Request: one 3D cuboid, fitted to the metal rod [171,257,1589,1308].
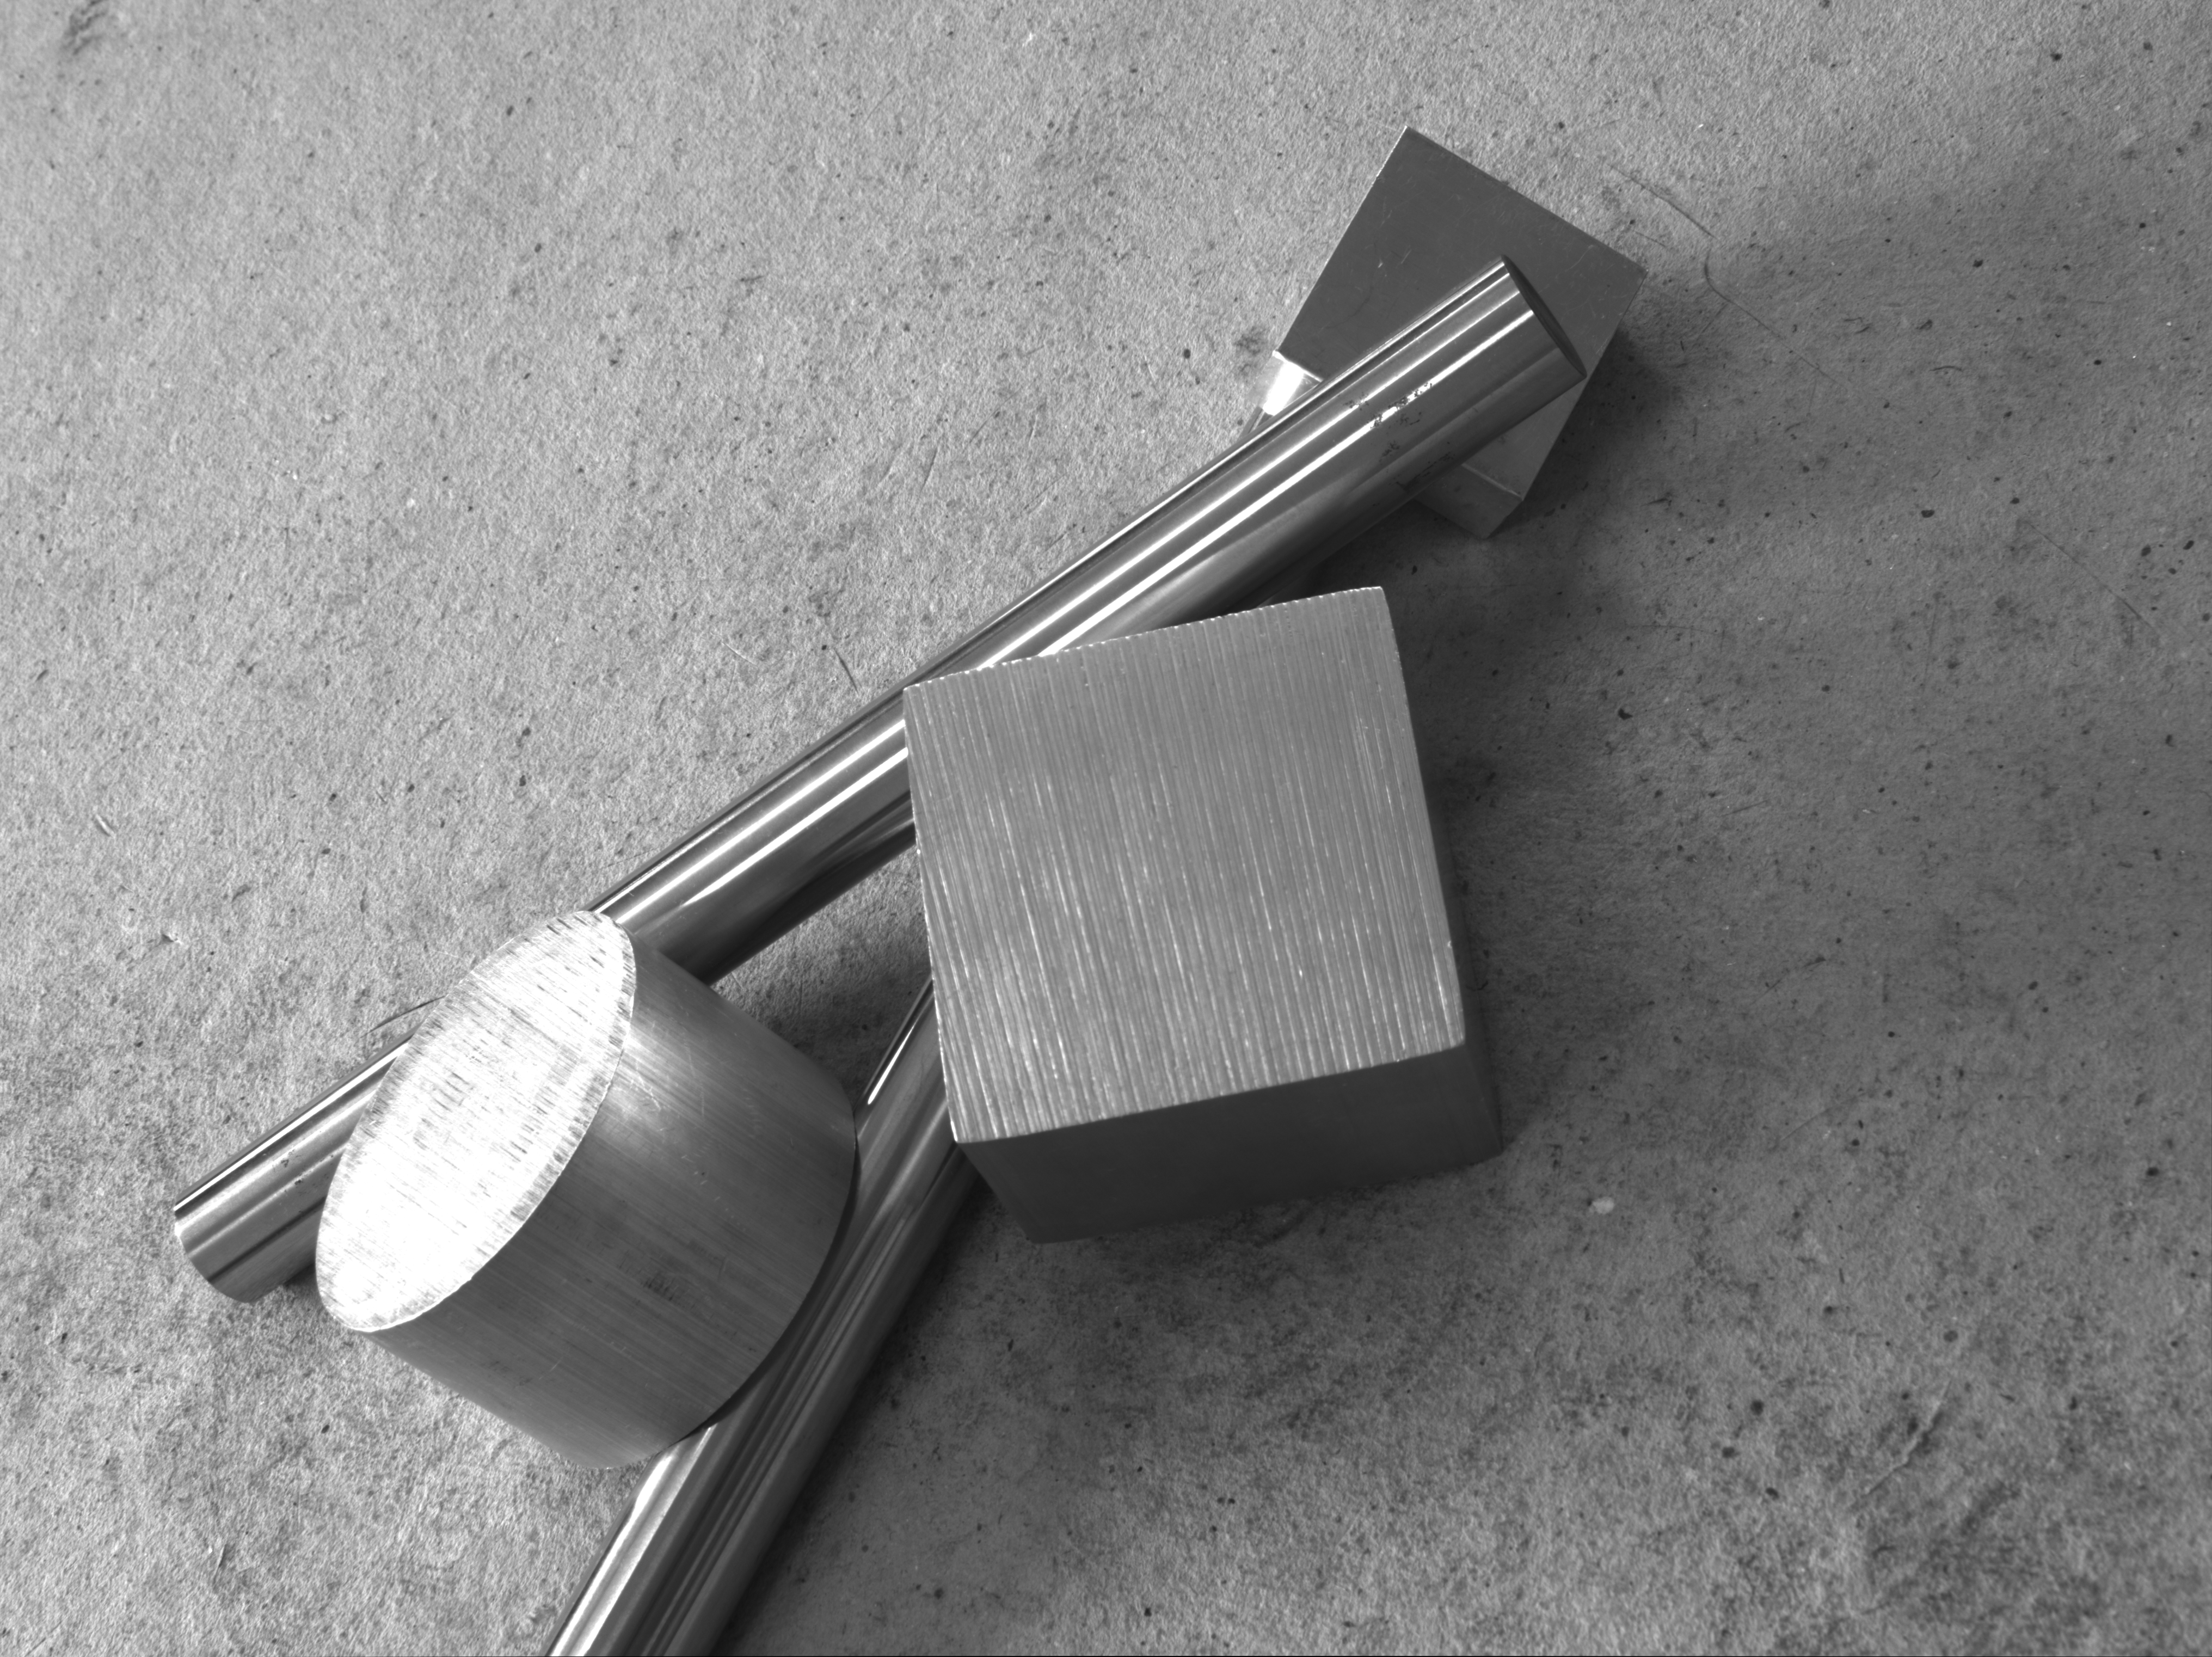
[{"bbox_3d":[-0.046,-0.003,0.650,0.300,0.025,0.025,-34,51,14],"label":"metal rod"}]

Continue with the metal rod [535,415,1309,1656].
[{"bbox_3d":[-0.017,0.026,0.638,0.025,0.025,0.300,18,71,35],"label":"metal rod"}]

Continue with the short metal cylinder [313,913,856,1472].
[{"bbox_3d":[-0.089,0.062,0.623,0.080,0.050,0.080,-33,35,27],"label":"short metal cylinder"}]

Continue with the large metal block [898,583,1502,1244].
[{"bbox_3d":[0.015,0.015,0.593,0.080,0.050,0.080,-11,65,7],"label":"large metal block"}]

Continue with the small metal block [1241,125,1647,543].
[{"bbox_3d":[0.060,-0.087,0.651,0.050,0.025,0.050,30,74,-3],"label":"small metal block"}]
